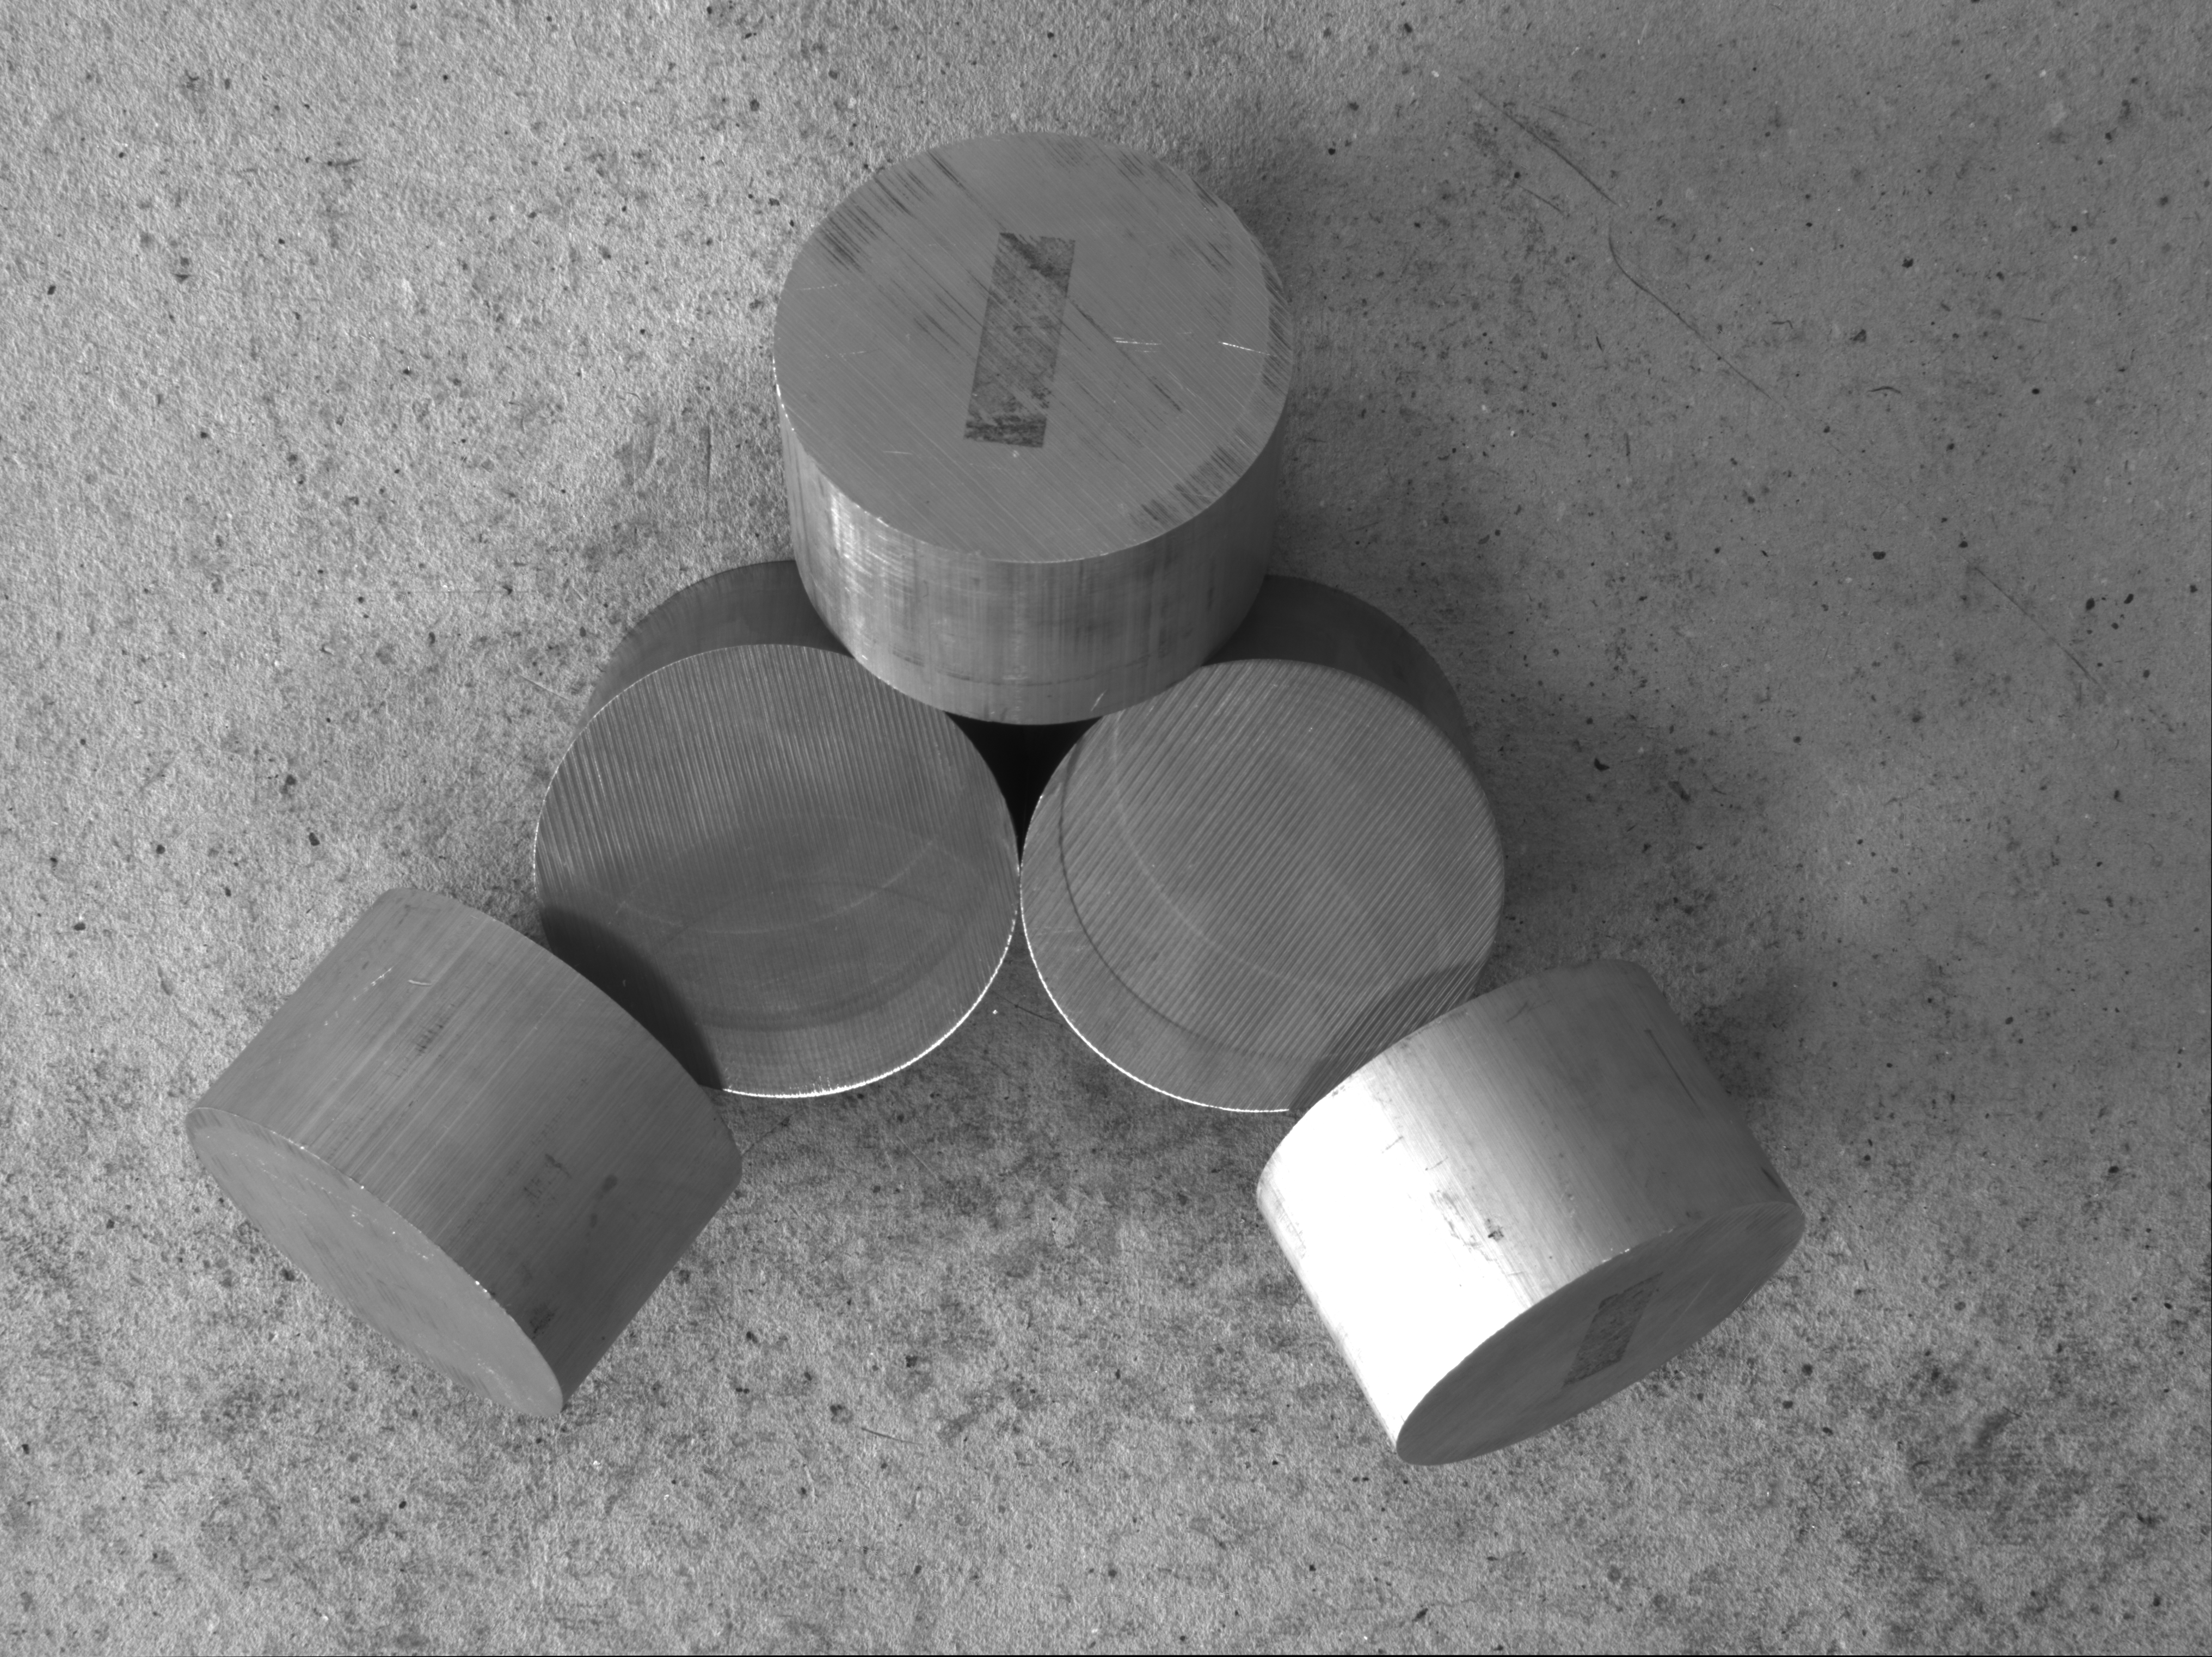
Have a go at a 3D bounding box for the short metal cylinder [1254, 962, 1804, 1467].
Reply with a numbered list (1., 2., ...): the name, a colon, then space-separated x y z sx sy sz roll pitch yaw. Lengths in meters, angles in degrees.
1. short metal cylinder: 0.072 0.067 0.632 0.080 0.080 0.050 -35 64 12

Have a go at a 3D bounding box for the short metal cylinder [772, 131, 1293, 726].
1. short metal cylinder: -0.012 -0.063 0.585 0.080 0.080 0.050 2 153 -1

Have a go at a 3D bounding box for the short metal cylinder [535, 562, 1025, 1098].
1. short metal cylinder: -0.054 0.000 0.630 0.080 0.050 0.080 0 110 0

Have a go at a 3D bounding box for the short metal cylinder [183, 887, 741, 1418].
1. short metal cylinder: -0.110 0.056 0.628 0.080 0.080 0.050 45 64 -14

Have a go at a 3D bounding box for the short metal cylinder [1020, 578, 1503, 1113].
1. short metal cylinder: 0.026 0.002 0.631 0.080 0.050 0.080 0 110 0
